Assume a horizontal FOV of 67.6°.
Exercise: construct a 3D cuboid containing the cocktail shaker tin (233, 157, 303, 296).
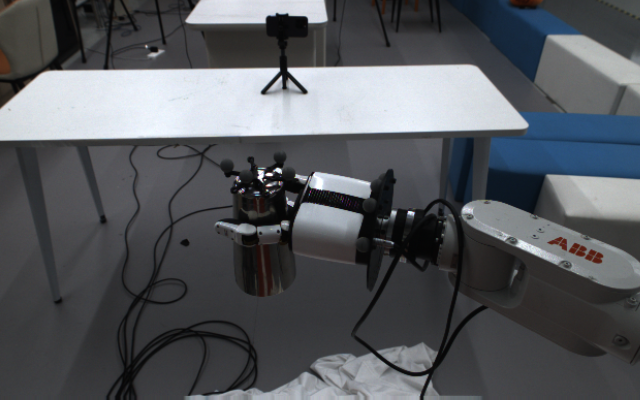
[{"bbox_3d":[-0.077,0.041,0.673,0.093,0.170,0.093,1,39,-1],"label":"cocktail shaker tin"}]
